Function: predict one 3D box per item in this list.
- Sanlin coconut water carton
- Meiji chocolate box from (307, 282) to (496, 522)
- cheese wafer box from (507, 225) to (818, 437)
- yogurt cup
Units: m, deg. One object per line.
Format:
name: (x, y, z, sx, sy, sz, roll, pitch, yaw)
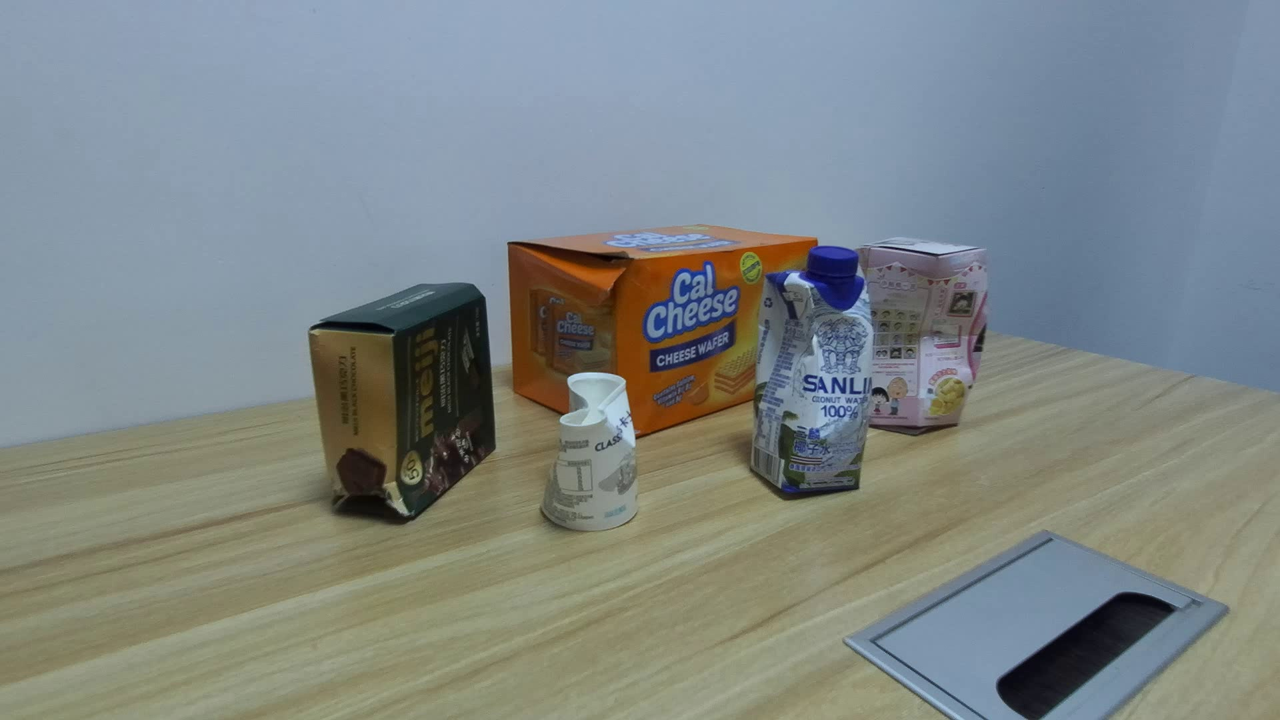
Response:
Sanlin coconut water carton: (0.106, 0.005, 0.430, 0.057, 0.144, 0.068, 1, 7, -22)
Meiji chocolate box: (-0.137, 0.019, 0.424, 0.058, 0.116, 0.123, 5, 16, 14)
cheese wafer box: (0.023, -0.039, 0.586, 0.228, 0.137, 0.149, -13, 21, -39)
yogurt cup: (-0.028, 0.051, 0.390, 0.054, 0.071, 0.075, -9, 20, -24)
